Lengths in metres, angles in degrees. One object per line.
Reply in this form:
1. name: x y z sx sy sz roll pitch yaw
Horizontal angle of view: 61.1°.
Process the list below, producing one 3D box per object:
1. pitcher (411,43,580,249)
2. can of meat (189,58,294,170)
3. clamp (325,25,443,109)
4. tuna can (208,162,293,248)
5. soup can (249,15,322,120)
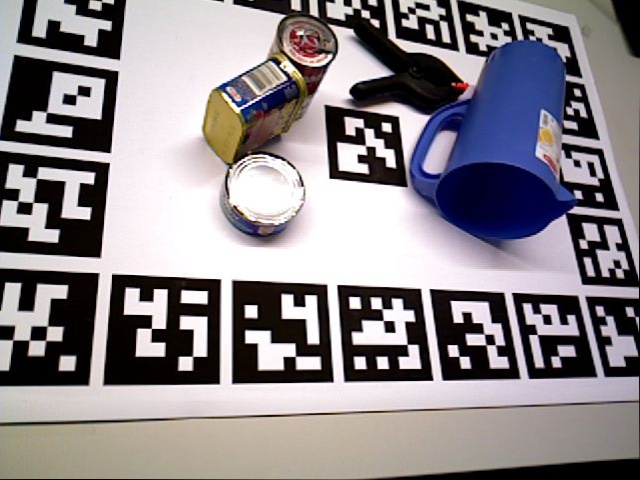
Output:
1. pitcher: 0.216 -0.122 0.650 0.189 0.136 0.238 14 56 10
2. can of meat: -0.083 -0.126 0.559 0.082 0.104 0.058 -34 85 -24
3. clamp: 0.085 -0.212 0.706 0.163 0.037 0.120 8 64 -21
4. tuna can: -0.074 -0.035 0.571 0.085 0.034 0.085 6 70 -18
5. soup can: -0.045 -0.185 0.601 0.067 0.104 0.067 5 69 -16
